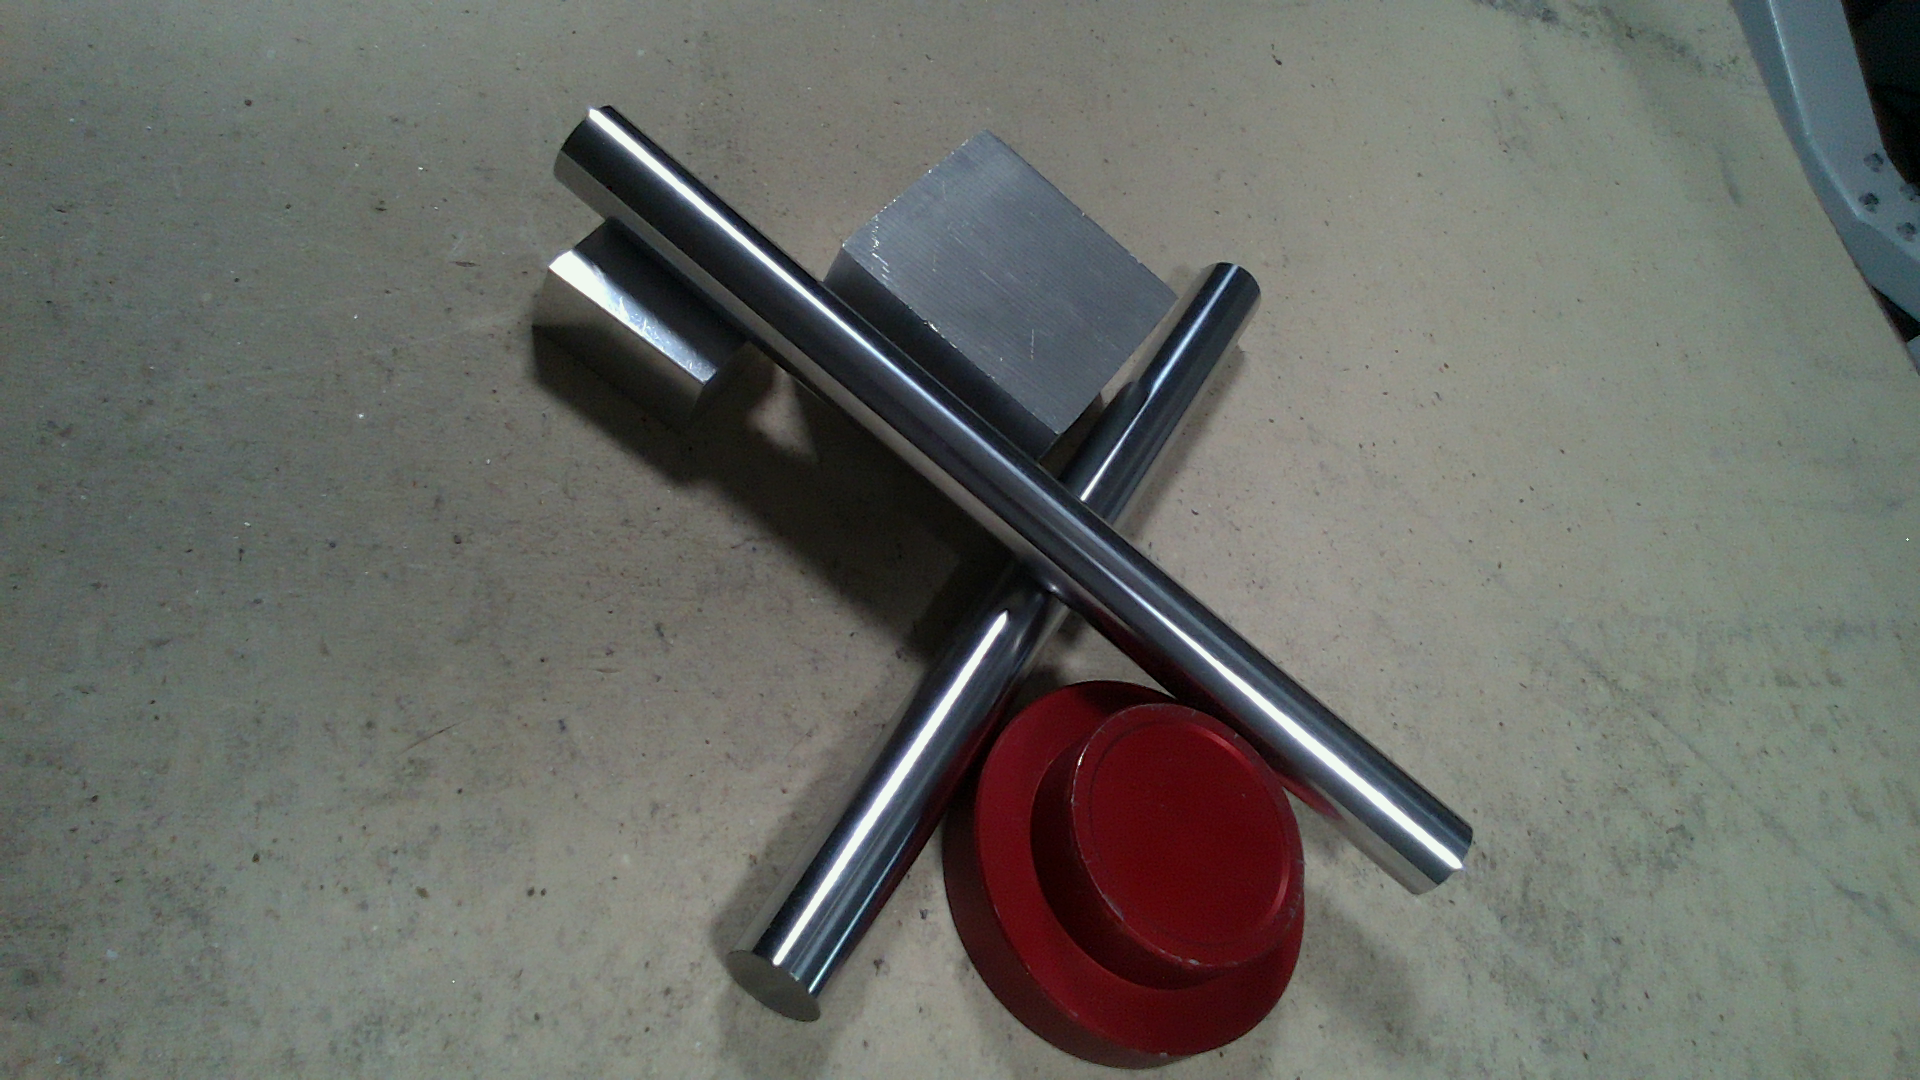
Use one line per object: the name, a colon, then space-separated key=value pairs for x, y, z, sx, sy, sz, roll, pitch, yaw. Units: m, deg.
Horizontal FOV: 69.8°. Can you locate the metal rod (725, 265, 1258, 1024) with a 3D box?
metal rod: x=0.027 y=0.006 z=0.402 sx=0.025 sy=0.025 sz=0.301 roll=38 pitch=51 yaw=-2

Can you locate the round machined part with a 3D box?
round machined part: x=0.049 y=0.081 z=0.355 sx=0.098 sy=0.042 sz=0.098 roll=14 pitch=56 yaw=-21

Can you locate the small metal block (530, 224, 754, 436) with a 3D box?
small metal block: x=-0.083 y=-0.066 z=0.387 sx=0.050 sy=0.025 sz=0.050 roll=37 pitch=51 yaw=-3

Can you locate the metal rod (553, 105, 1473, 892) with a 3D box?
metal rod: x=0.015 y=-0.010 z=0.371 sx=0.300 sy=0.025 sz=0.025 roll=40 pitch=51 yaw=-1

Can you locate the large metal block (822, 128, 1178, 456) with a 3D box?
large metal block: x=0.007 y=-0.066 z=0.419 sx=0.080 sy=0.050 sz=0.080 roll=41 pitch=51 yaw=0
